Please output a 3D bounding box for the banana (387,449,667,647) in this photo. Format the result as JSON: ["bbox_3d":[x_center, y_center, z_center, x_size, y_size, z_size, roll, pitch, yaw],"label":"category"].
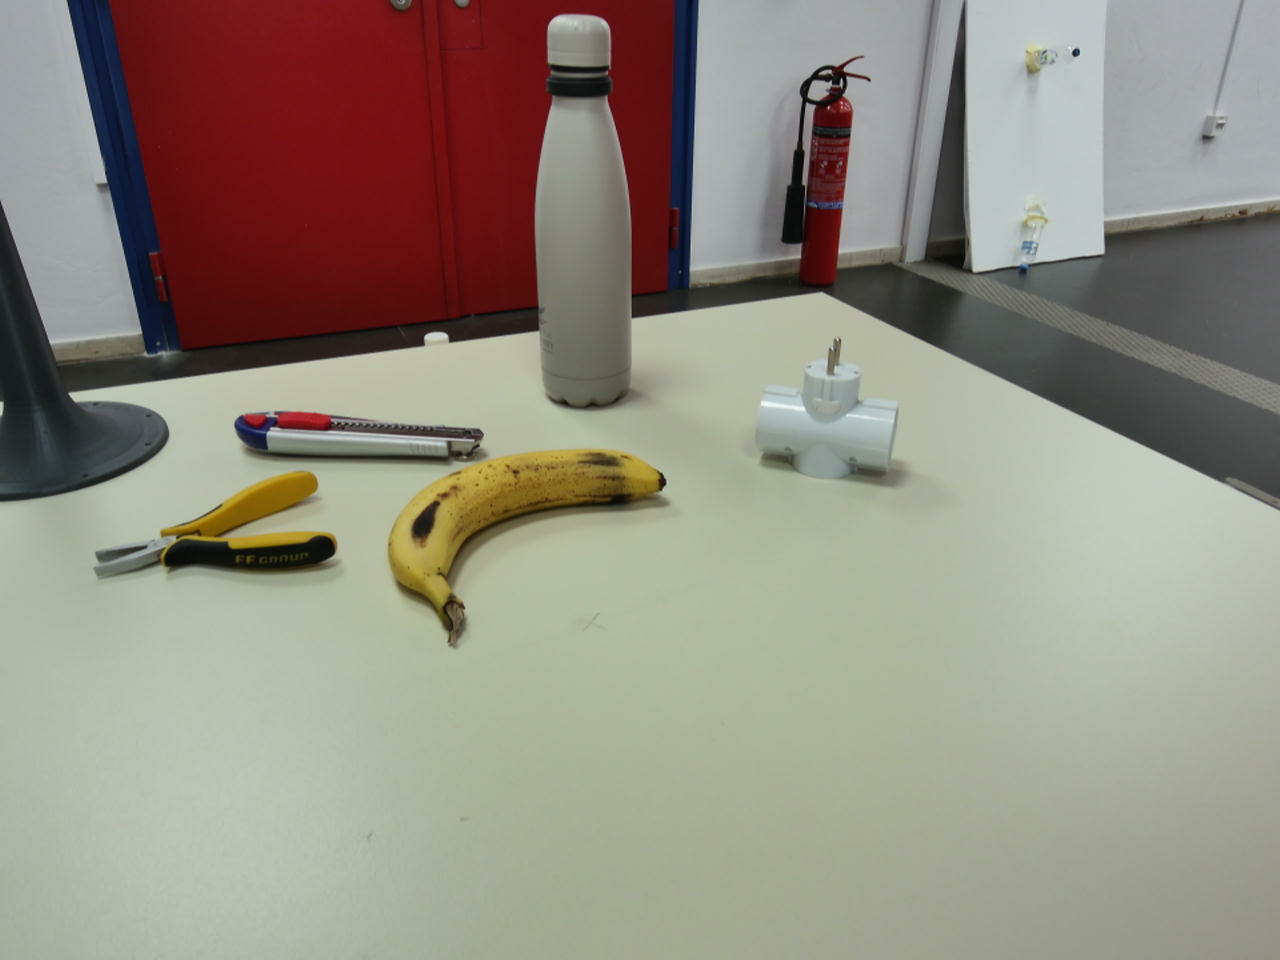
[{"bbox_3d":[-0.074,0.019,0.587,0.097,0.038,0.186,19,32,33],"label":"banana"}]
